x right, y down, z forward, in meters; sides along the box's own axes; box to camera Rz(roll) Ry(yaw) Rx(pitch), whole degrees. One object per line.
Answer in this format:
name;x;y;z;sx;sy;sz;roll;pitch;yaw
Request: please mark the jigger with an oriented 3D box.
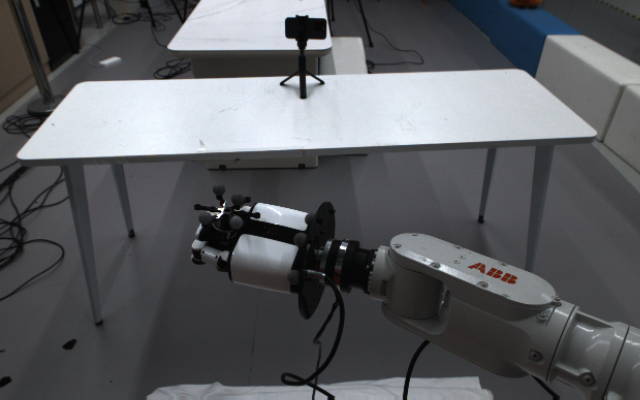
jigger;-0.127;0.059;0.675;0.043;0.071;0.043;6;32;-4
